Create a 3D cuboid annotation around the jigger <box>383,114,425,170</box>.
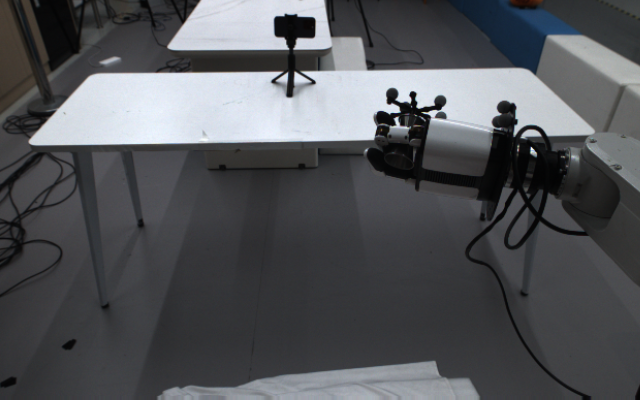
[{"bbox_3d":[0.123,-0.083,0.685,0.043,0.043,0.071,13,69,15],"label":"jigger"}]
